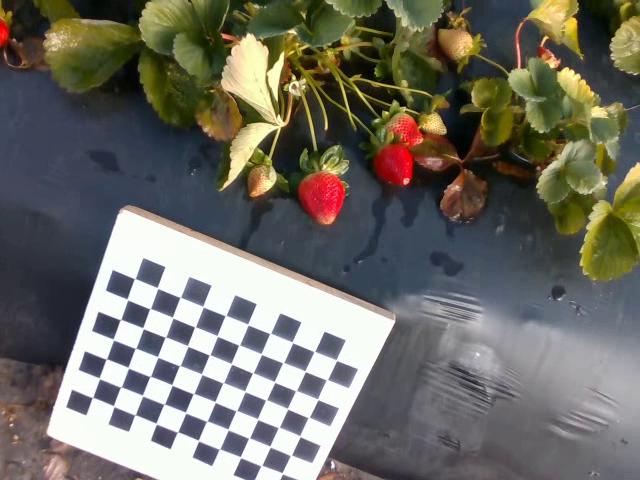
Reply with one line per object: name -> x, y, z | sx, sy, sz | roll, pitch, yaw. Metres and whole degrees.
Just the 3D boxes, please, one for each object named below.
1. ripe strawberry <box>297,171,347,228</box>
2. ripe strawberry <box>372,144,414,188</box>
ripe strawberry -> 0.003, -0.040, 0.628 | 0.050, 0.065, 0.050 | -15, -41, 10
ripe strawberry -> 0.078, -0.073, 0.655 | 0.044, 0.055, 0.041 | -39, -41, 14
